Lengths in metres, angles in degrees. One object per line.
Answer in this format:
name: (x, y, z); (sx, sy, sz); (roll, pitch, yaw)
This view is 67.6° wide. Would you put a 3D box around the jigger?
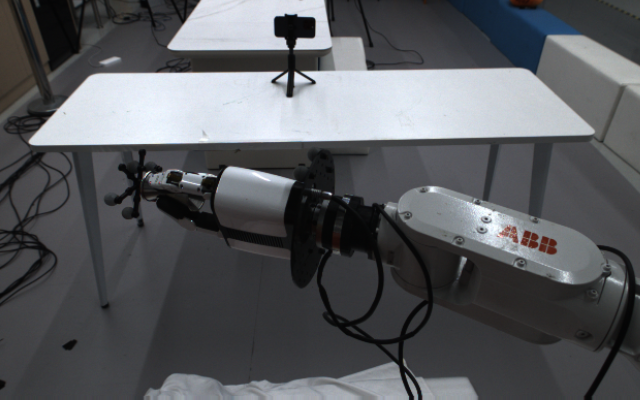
jigger: (-0.177, -0.016, 0.601); (0.071, 0.043, 0.043); (10, 35, 16)
